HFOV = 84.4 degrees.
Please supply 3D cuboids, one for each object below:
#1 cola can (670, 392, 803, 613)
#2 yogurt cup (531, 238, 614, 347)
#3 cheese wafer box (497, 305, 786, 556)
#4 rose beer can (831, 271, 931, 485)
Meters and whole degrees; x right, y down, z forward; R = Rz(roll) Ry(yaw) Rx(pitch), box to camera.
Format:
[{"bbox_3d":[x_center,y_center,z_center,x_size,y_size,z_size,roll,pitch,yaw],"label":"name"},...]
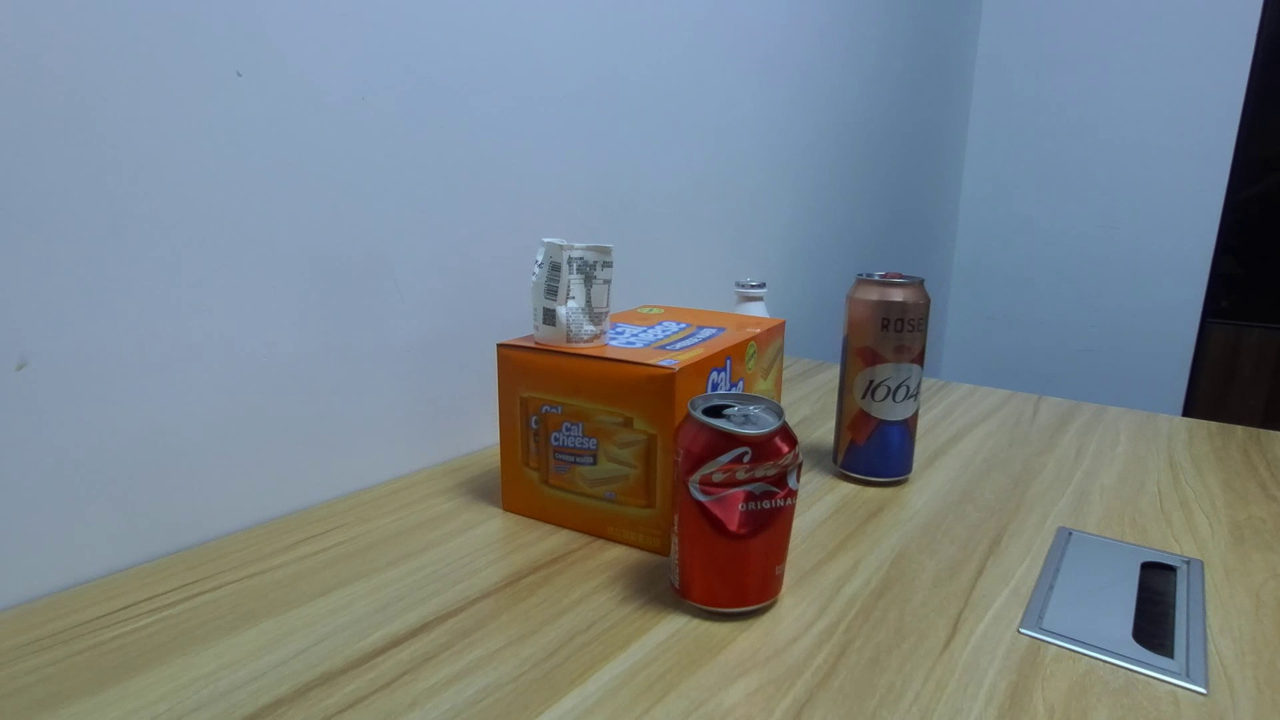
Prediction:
[{"bbox_3d":[0.054,0.080,0.405,0.072,0.117,0.065,-1,14,-8],"label":"cola can"},{"bbox_3d":[-0.049,-0.048,0.497,0.055,0.072,0.054,-2,14,-14],"label":"yogurt cup"},{"bbox_3d":[0.012,0.038,0.567,0.147,0.129,0.223,8,15,28],"label":"cheese wafer box"},{"bbox_3d":[0.201,0.016,0.590,0.068,0.169,0.068,3,12,0],"label":"rose beer can"}]
